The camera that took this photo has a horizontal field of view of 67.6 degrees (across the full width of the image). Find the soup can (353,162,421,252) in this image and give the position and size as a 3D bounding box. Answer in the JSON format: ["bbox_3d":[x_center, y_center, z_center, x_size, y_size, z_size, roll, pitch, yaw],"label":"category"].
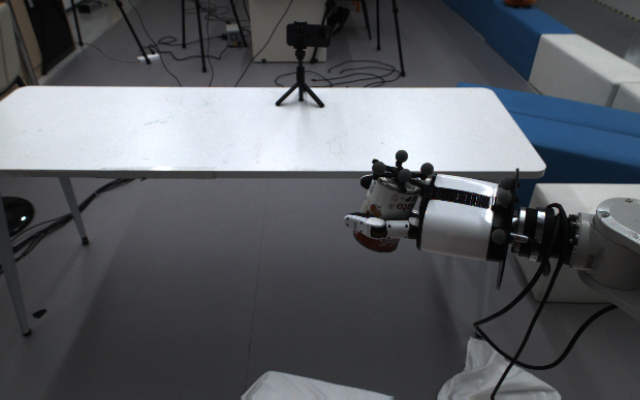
[{"bbox_3d":[0.094,0.013,0.669,0.067,0.101,0.067,13,30,-8],"label":"soup can"}]
